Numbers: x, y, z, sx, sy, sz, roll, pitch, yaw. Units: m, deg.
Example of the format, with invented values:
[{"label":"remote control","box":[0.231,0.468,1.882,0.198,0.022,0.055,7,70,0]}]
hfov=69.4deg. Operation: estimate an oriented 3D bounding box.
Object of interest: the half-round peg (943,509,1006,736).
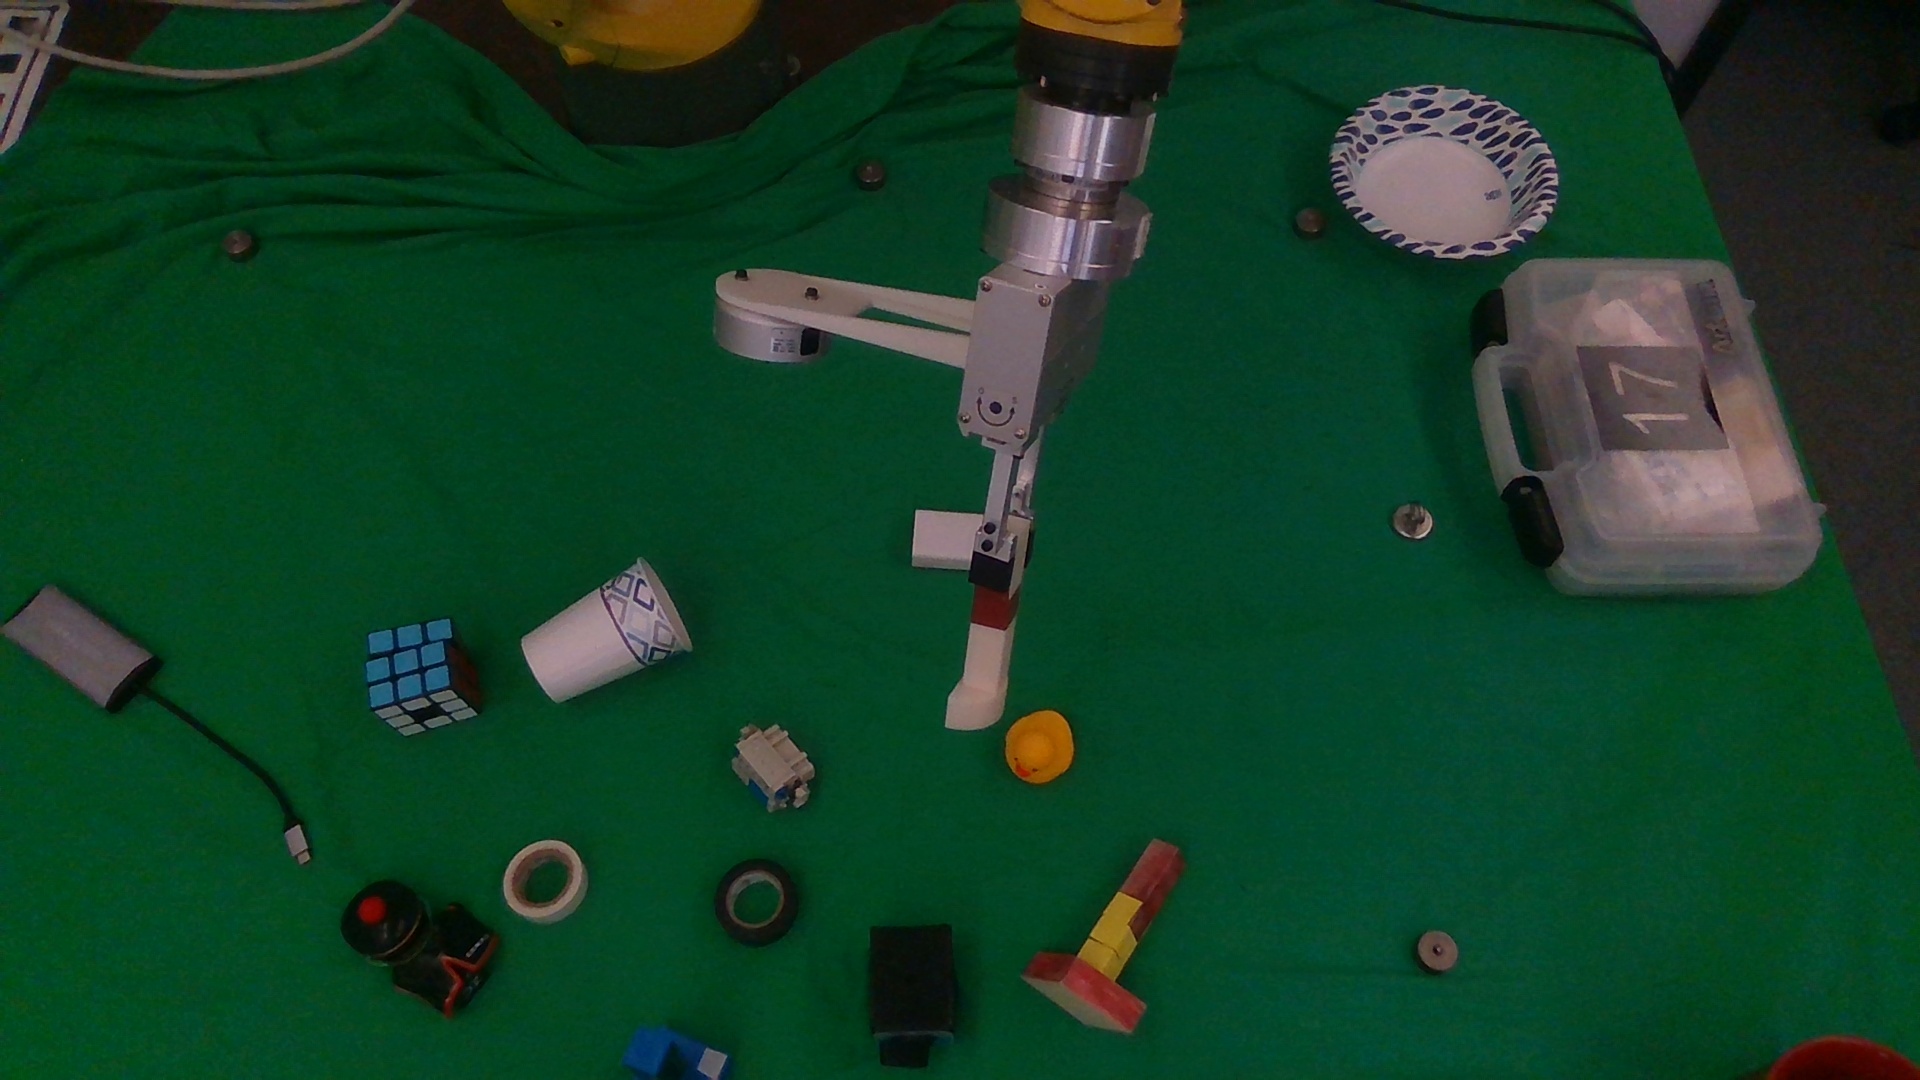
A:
[{"label":"half-round peg","box":[0.010,0.042,0.745,0.031,0.122,0.054,7,27,7]}]

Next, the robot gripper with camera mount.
[{"label":"robot gripper with camera mount","box":[-0.038,-0.068,0.702,0.194,0.158,0.119,16,31,14]}]
